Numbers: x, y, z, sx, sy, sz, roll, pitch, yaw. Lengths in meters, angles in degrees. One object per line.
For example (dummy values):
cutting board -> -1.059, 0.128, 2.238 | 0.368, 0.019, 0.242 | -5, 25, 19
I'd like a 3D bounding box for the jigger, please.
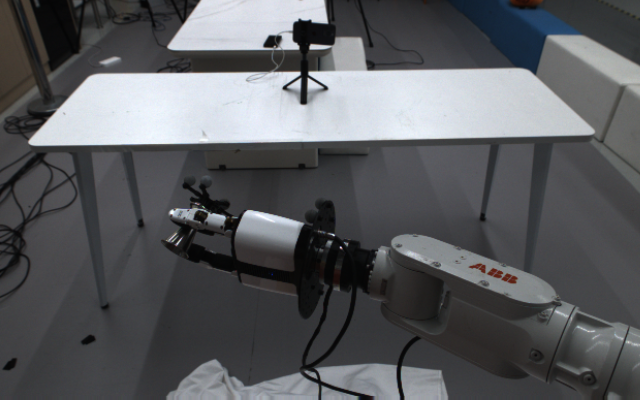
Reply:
jigger -> -0.185, 0.039, 0.676 | 0.043, 0.043, 0.071 | 19, 62, 23
